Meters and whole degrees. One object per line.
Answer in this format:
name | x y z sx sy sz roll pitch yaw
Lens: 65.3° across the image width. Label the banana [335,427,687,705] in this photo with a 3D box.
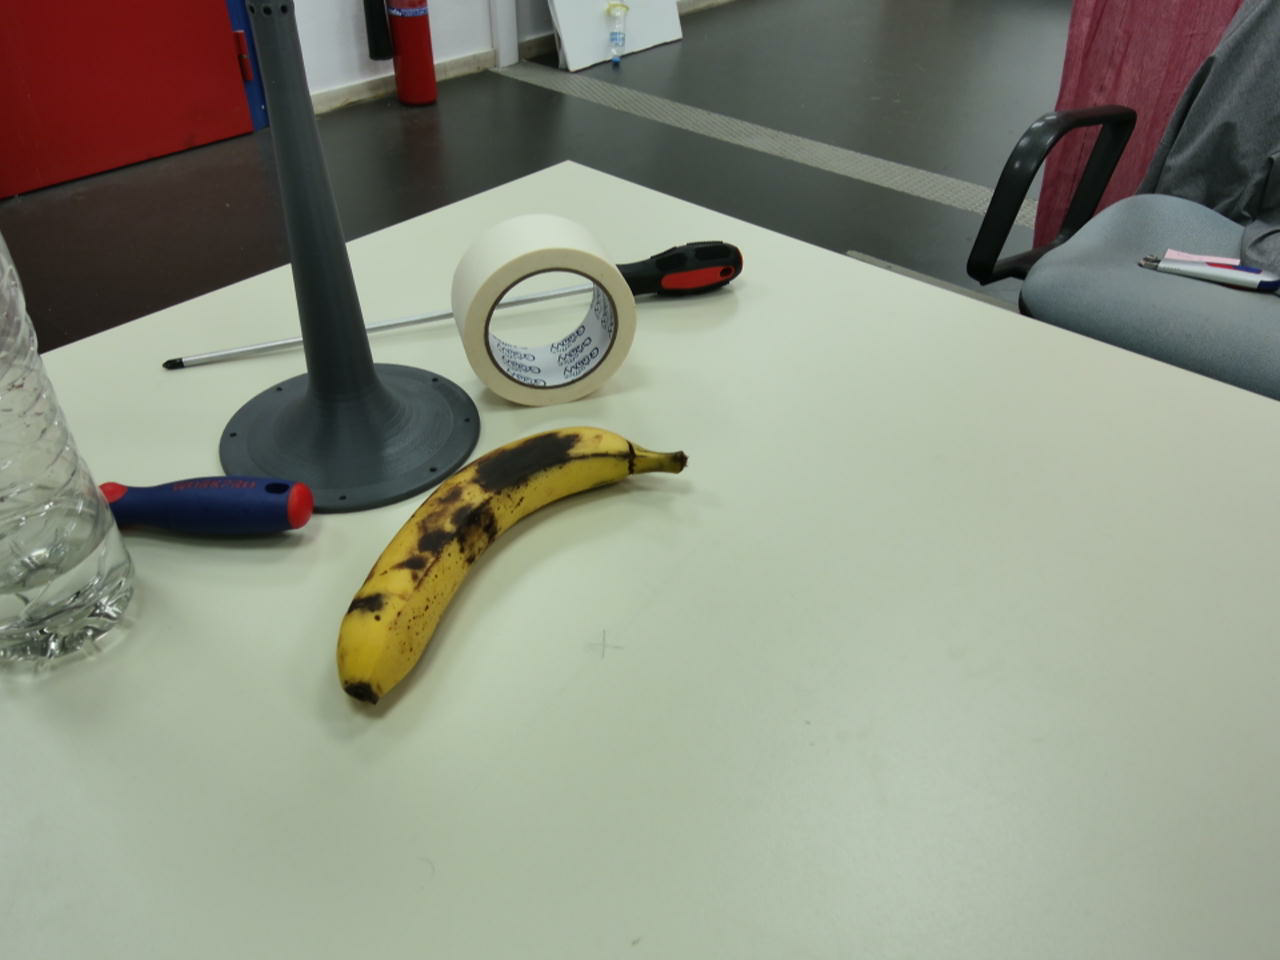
banana | -0.074 0.024 0.497 0.084 0.037 0.222 28 44 30
